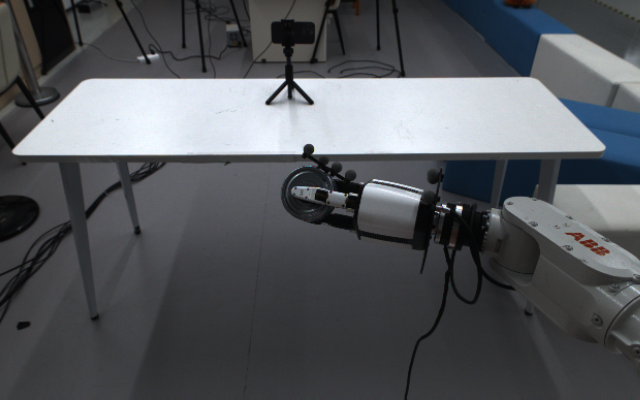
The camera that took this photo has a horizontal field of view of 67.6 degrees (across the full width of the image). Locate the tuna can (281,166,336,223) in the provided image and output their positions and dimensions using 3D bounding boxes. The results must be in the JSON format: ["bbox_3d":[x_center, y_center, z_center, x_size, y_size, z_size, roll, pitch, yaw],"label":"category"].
[{"bbox_3d":[-0.016,-0.010,0.749,0.085,0.085,0.034,13,-4,15],"label":"tuna can"}]
